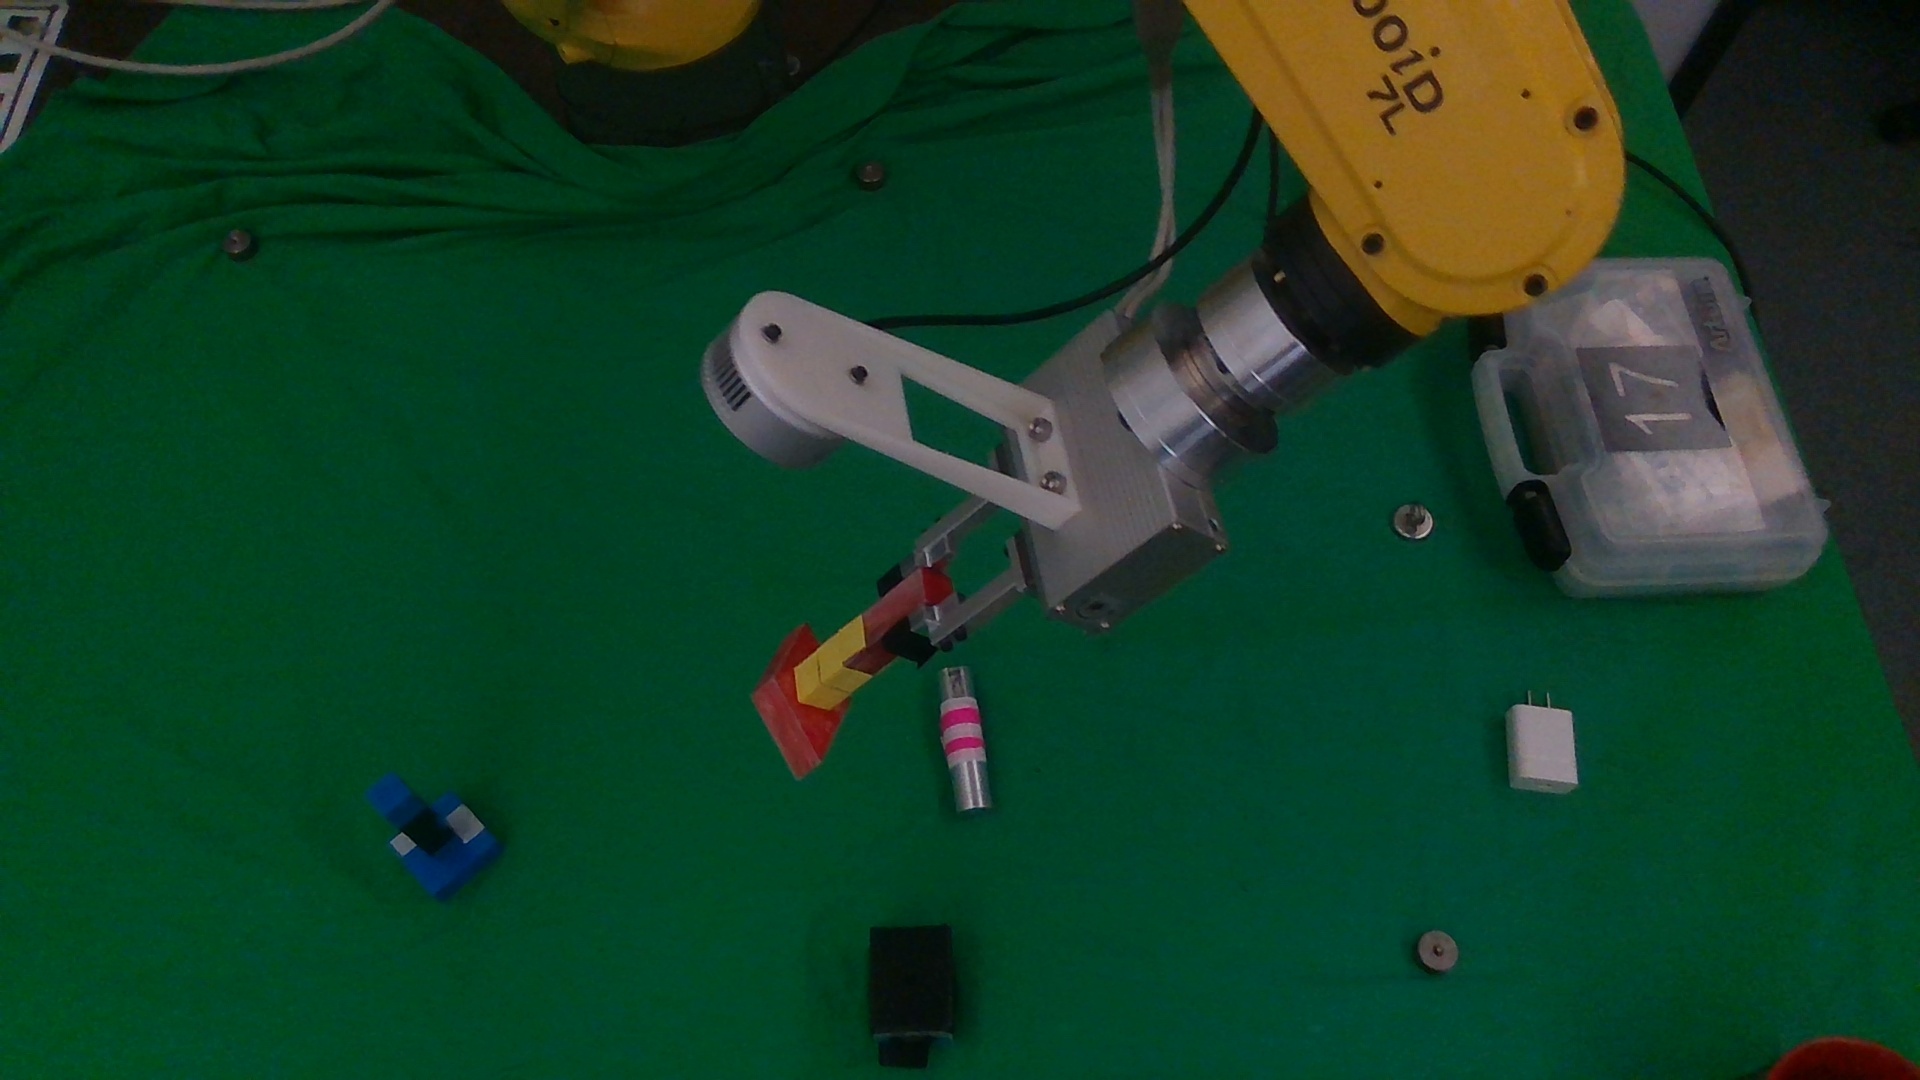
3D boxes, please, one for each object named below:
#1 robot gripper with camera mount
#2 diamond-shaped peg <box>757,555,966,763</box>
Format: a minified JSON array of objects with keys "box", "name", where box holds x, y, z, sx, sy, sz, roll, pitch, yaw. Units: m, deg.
[{"box":[-0.035,-0.025,0.572,0.192,0.159,0.119,15,48,-38],"name":"robot gripper with camera mount"},{"box":[-0.046,0.048,0.681,0.045,0.122,0.074,-7,65,-54],"name":"diamond-shaped peg"}]
